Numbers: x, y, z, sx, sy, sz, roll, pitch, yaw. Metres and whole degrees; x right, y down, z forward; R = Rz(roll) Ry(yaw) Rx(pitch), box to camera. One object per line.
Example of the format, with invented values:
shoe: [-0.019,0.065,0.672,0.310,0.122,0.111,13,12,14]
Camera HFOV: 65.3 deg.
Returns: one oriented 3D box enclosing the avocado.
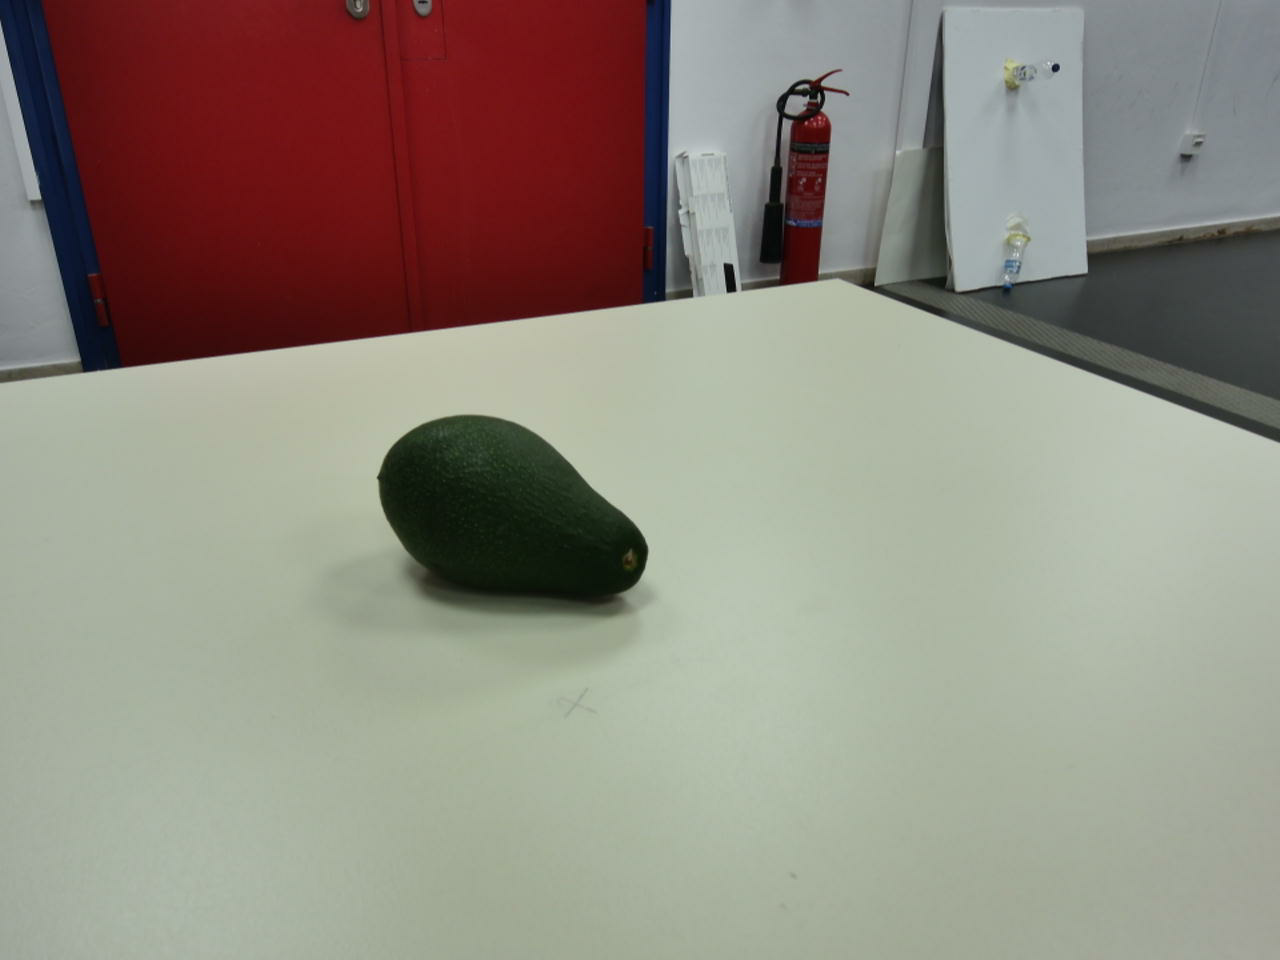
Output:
avocado: [-0.055,0.012,0.411,0.110,0.071,0.072,19,30,37]
